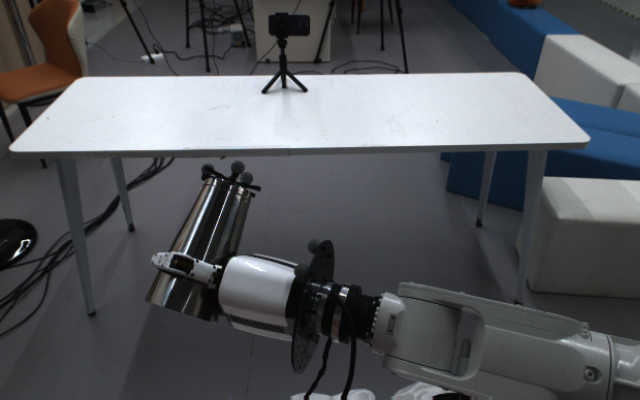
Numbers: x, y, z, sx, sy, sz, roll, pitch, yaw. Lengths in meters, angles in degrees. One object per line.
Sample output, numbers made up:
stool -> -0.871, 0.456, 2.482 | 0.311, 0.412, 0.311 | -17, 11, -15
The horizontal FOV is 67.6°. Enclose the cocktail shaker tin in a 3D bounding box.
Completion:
cocktail shaker tin -> -0.148, 0.062, 0.620 | 0.093, 0.093, 0.170 | 14, 73, 16
